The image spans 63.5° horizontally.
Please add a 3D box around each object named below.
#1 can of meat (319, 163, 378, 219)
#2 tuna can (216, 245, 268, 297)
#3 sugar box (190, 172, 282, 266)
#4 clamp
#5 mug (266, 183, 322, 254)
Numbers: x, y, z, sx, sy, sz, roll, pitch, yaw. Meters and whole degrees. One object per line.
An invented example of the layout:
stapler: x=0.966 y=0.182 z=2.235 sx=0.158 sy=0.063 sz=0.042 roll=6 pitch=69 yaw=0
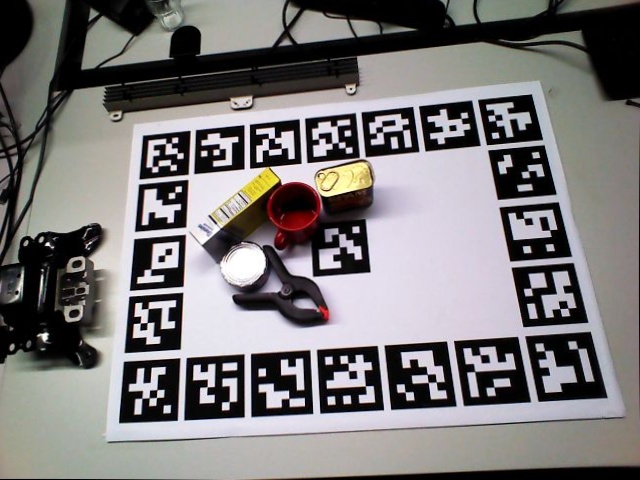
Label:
can of meat: x=0.052 y=-0.083 z=0.908 sx=0.102 sy=0.084 sz=0.057 roll=-12 pitch=68 yaw=0
tuna can: x=-0.134 y=0.054 z=0.897 sx=0.086 sy=0.034 sz=0.085 roll=-2 pitch=72 yaw=5
sugar box: x=-0.138 y=-0.035 z=0.906 sx=0.176 sy=0.093 sz=0.045 roll=-40 pitch=69 yaw=-10
clamp: x=-0.054 y=0.101 z=0.877 sx=0.165 sy=0.037 sz=0.121 roll=30 pitch=71 yaw=11
mug: x=-0.045 y=-0.030 z=0.891 sx=0.093 sy=0.081 sz=0.116 roll=19 pitch=75 yaw=12
